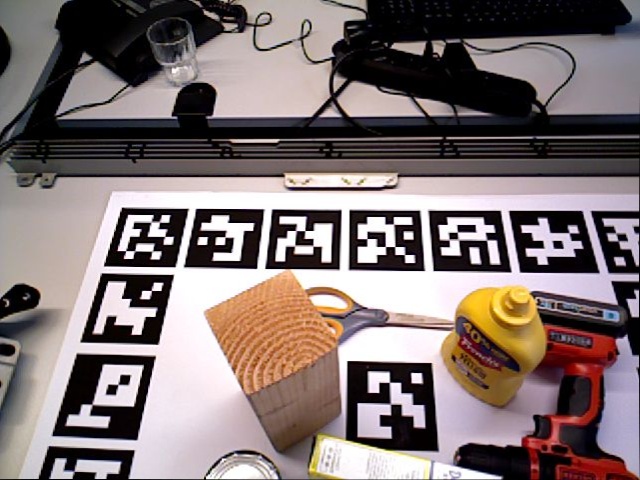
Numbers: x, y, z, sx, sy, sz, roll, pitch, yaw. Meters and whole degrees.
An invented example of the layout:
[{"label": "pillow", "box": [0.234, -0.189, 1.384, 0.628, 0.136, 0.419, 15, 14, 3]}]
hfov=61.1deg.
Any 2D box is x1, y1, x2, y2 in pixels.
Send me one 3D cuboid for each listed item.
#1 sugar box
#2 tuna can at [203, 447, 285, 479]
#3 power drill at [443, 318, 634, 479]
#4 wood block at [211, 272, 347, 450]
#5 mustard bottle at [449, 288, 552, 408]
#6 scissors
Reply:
[{"label": "sugar box", "box": [0.089, 0.238, 0.518, 0.176, 0.095, 0.044, 12, 55, 9]}, {"label": "tuna can", "box": [-0.076, 0.256, 0.548, 0.085, 0.034, 0.084, -2, 59, 2]}, {"label": "power drill", "box": [0.234, 0.177, 0.565, 0.184, 0.058, 0.184, 12, 67, 11]}, {"label": "wood block", "box": [-0.033, 0.126, 0.538, 0.090, 0.210, 0.089, -23, 60, -12]}, {"label": "mustard bottle", "box": [0.187, 0.101, 0.546, 0.057, 0.195, 0.096, -34, 63, -17]}, {"label": "scissors", "box": [0.055, 0.091, 0.656, 0.202, 0.016, 0.086, 3, 54, 6]}]
